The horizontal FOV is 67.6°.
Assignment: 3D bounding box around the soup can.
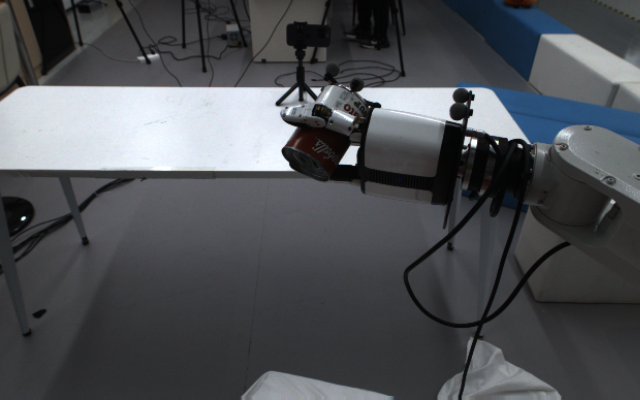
[{"bbox_3d":[0.009,-0.082,0.589,0.067,0.067,0.101,23,73,28],"label":"soup can"}]
